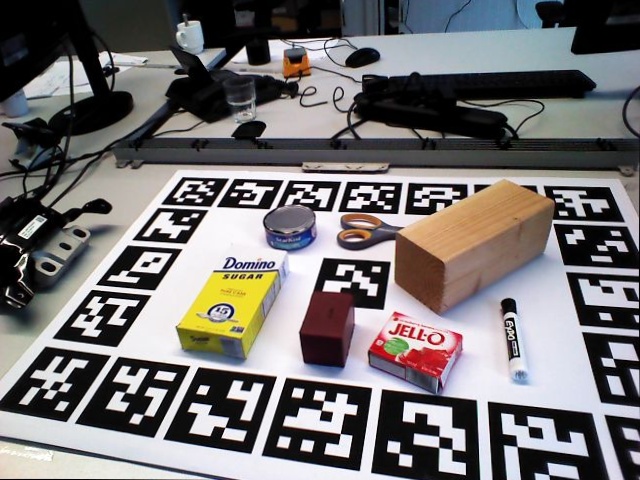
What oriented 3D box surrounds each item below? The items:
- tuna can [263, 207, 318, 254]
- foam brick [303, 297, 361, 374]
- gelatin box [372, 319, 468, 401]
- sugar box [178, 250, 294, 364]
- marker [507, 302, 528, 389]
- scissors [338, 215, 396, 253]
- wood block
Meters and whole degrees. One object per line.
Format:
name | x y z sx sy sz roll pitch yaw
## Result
tuna can | -0.046 -0.016 0.832 0.086 0.034 0.085 -6 38 4
foam brick | 0.017 0.116 0.631 0.053 0.051 0.077 3 40 16
gelatin box | 0.118 0.137 0.607 0.090 0.030 0.073 15 44 29
sugar box | -0.108 0.085 0.710 0.093 0.045 0.175 6 40 17
marker | 0.233 0.120 0.612 0.020 0.020 0.120 3 41 15
scissors | 0.126 -0.005 0.802 0.204 0.016 0.087 6 40 22
wood block | 0.222 0.012 0.705 0.205 0.091 0.090 -26 40 -22
